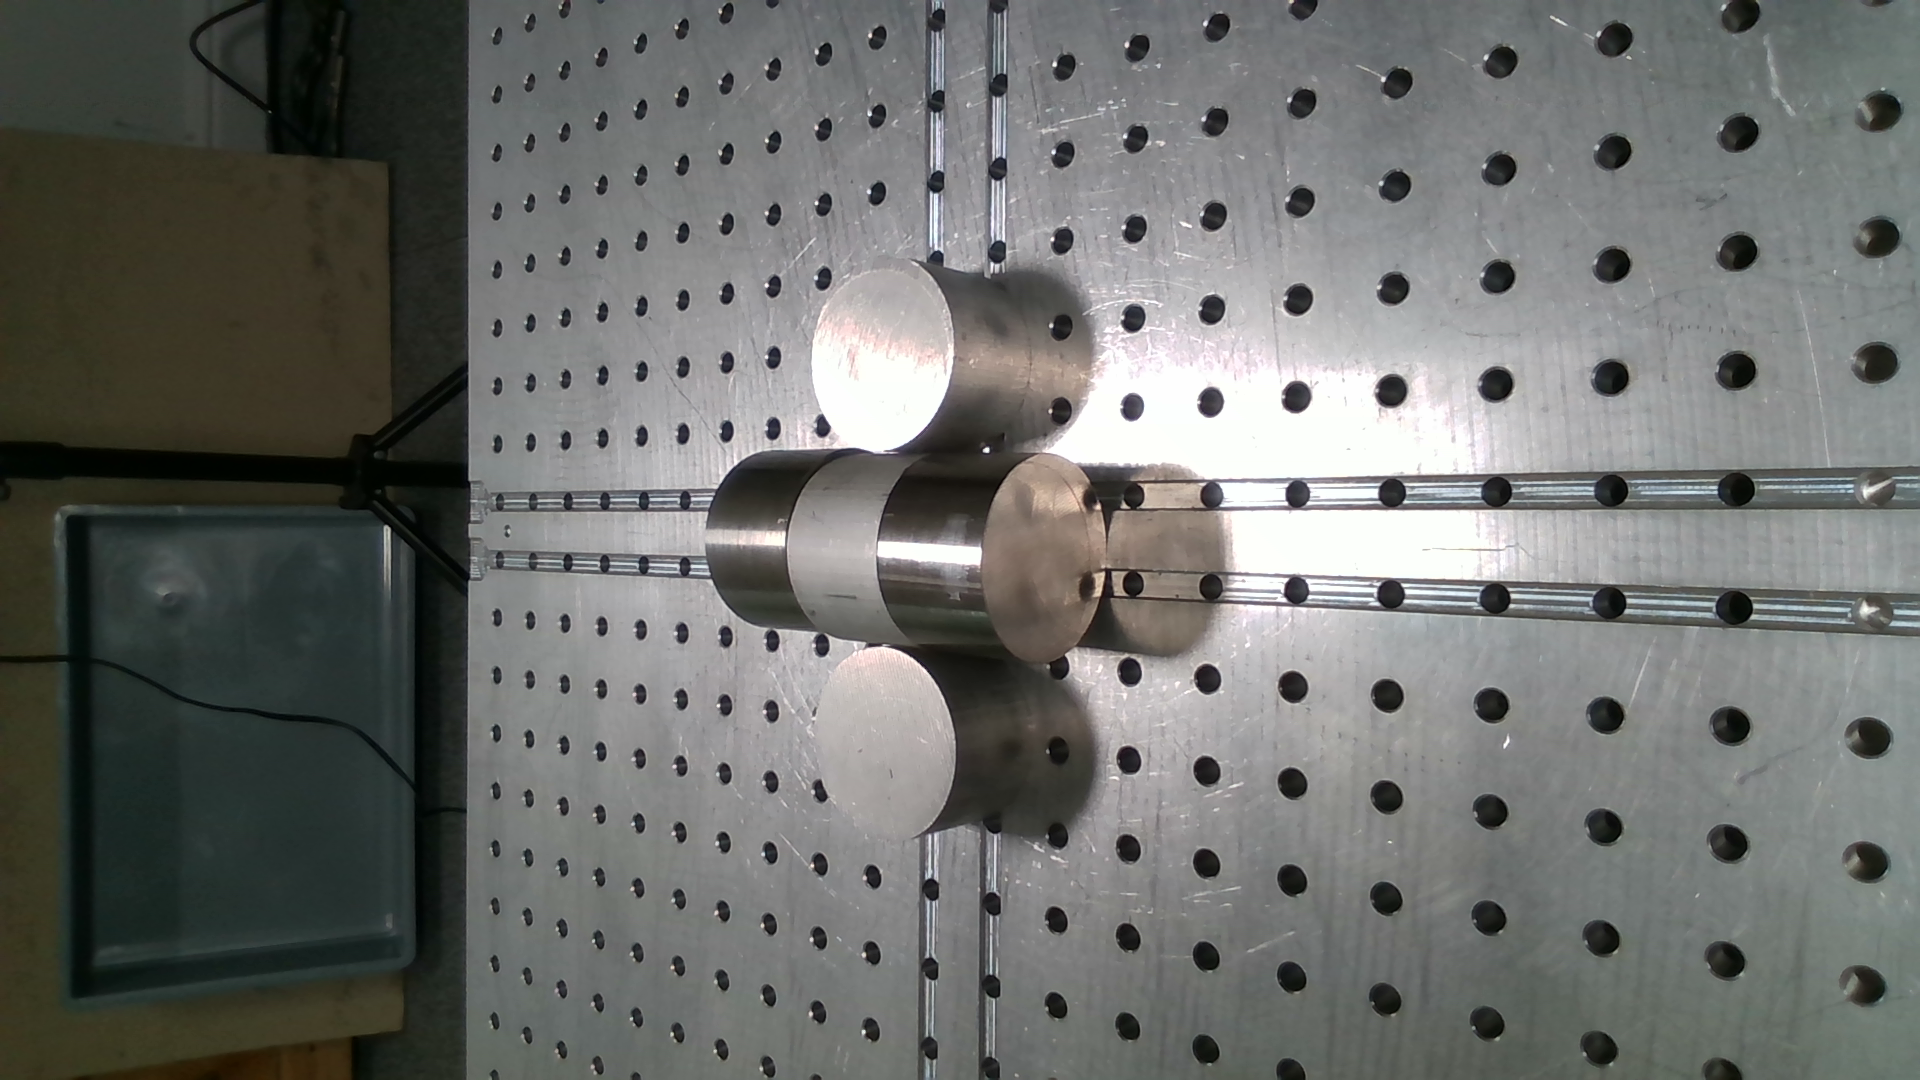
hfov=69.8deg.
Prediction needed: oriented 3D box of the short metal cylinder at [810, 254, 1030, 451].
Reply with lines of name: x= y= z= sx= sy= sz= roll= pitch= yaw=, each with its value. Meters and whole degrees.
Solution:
short metal cylinder: x=-0.017 y=-0.077 z=0.582 sx=0.080 sy=0.050 sz=0.080 roll=0 pitch=91 yaw=40

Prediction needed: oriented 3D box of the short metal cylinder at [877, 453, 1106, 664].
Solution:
short metal cylinder: x=0.013 y=0.006 z=0.537 sx=0.050 sy=0.080 sz=0.080 roll=3 pitch=93 yaw=40

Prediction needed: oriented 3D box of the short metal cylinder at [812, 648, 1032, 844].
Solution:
short metal cylinder: x=-0.017 y=0.084 z=0.583 sx=0.080 sy=0.050 sz=0.080 roll=0 pitch=91 yaw=40

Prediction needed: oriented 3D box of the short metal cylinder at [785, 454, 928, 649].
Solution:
short metal cylinder: x=-0.026 y=0.004 z=0.570 sx=0.050 sy=0.080 sz=0.080 roll=3 pitch=92 yaw=40

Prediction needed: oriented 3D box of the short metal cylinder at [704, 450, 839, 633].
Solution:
short metal cylinder: x=-0.065 y=0.001 z=0.603 sx=0.050 sy=0.080 sz=0.080 roll=2 pitch=91 yaw=40
